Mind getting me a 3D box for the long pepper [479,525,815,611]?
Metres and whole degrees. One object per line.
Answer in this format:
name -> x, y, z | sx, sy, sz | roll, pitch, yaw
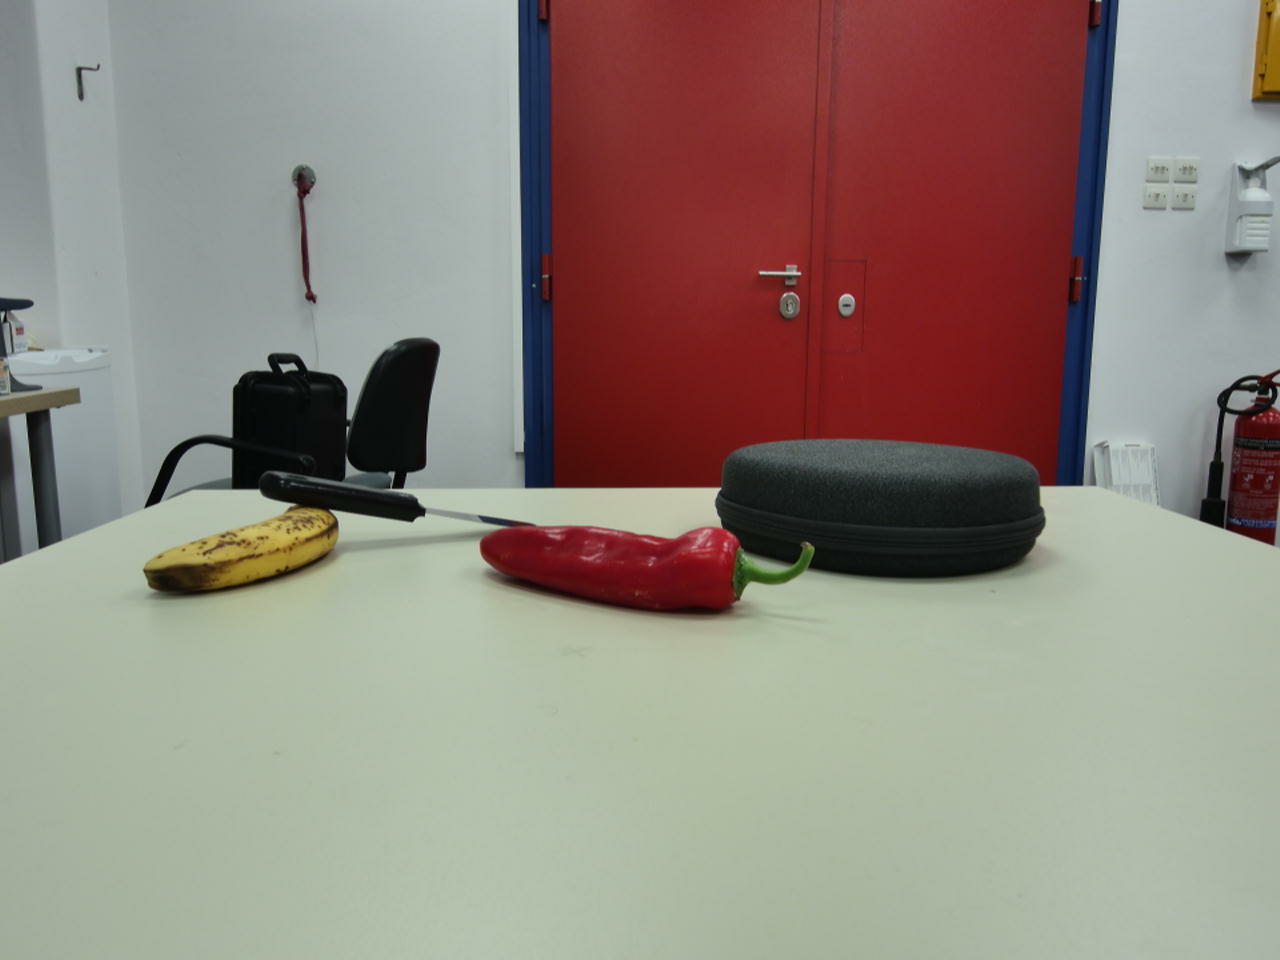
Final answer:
long pepper -> -0.010, 0.043, 0.541 | 0.211, 0.043, 0.050 | 4, 8, 31
